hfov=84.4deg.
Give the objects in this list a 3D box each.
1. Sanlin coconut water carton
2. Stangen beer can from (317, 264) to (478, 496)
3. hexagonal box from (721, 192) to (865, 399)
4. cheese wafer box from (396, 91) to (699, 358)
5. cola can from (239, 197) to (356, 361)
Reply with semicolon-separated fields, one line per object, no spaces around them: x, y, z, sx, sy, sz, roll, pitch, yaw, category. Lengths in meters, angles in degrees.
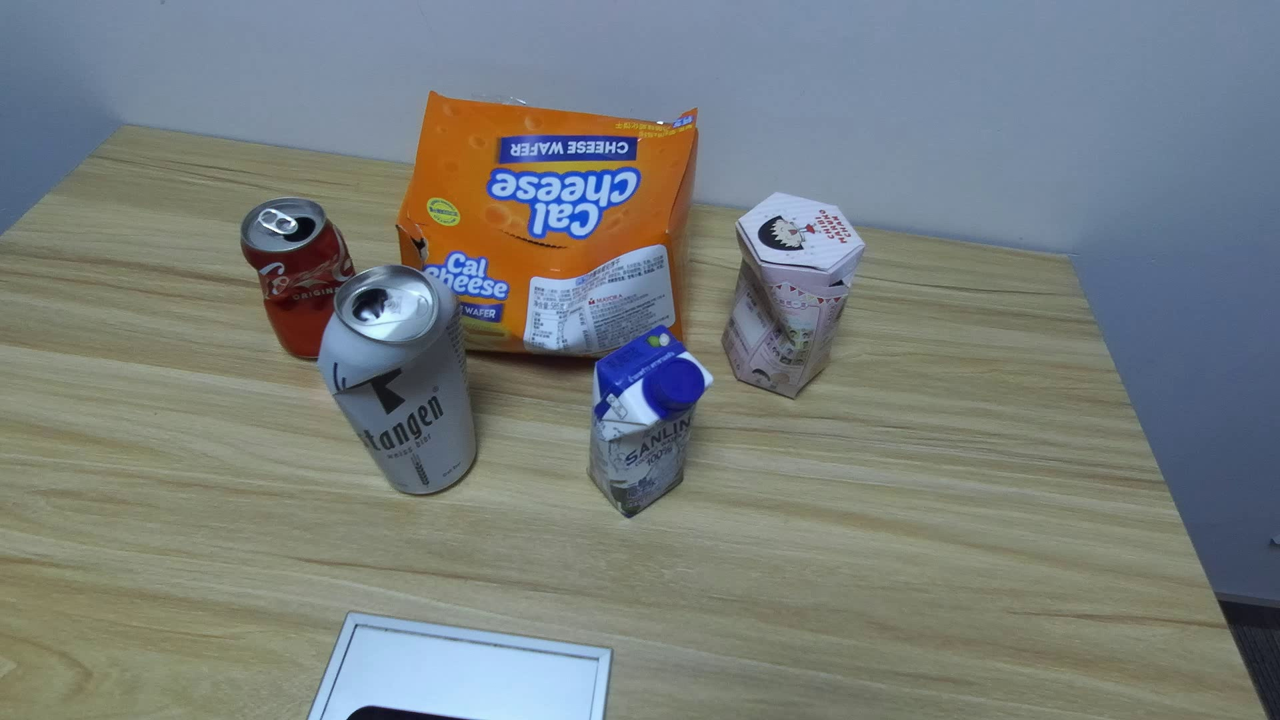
0.003;0.040;0.446;0.078;0.142;0.057;-32;65;-28;Sanlin coconut water carton
-0.143;0.018;0.436;0.066;0.162;0.077;2;51;-3;Stangen beer can
0.108;-0.044;0.531;0.090;0.134;0.091;20;51;15;hexagonal box
-0.066;-0.094;0.550;0.219;0.145;0.191;4;50;-3;cheese wafer box
-0.243;-0.056;0.515;0.066;0.117;0.065;-27;56;-25;cola can
